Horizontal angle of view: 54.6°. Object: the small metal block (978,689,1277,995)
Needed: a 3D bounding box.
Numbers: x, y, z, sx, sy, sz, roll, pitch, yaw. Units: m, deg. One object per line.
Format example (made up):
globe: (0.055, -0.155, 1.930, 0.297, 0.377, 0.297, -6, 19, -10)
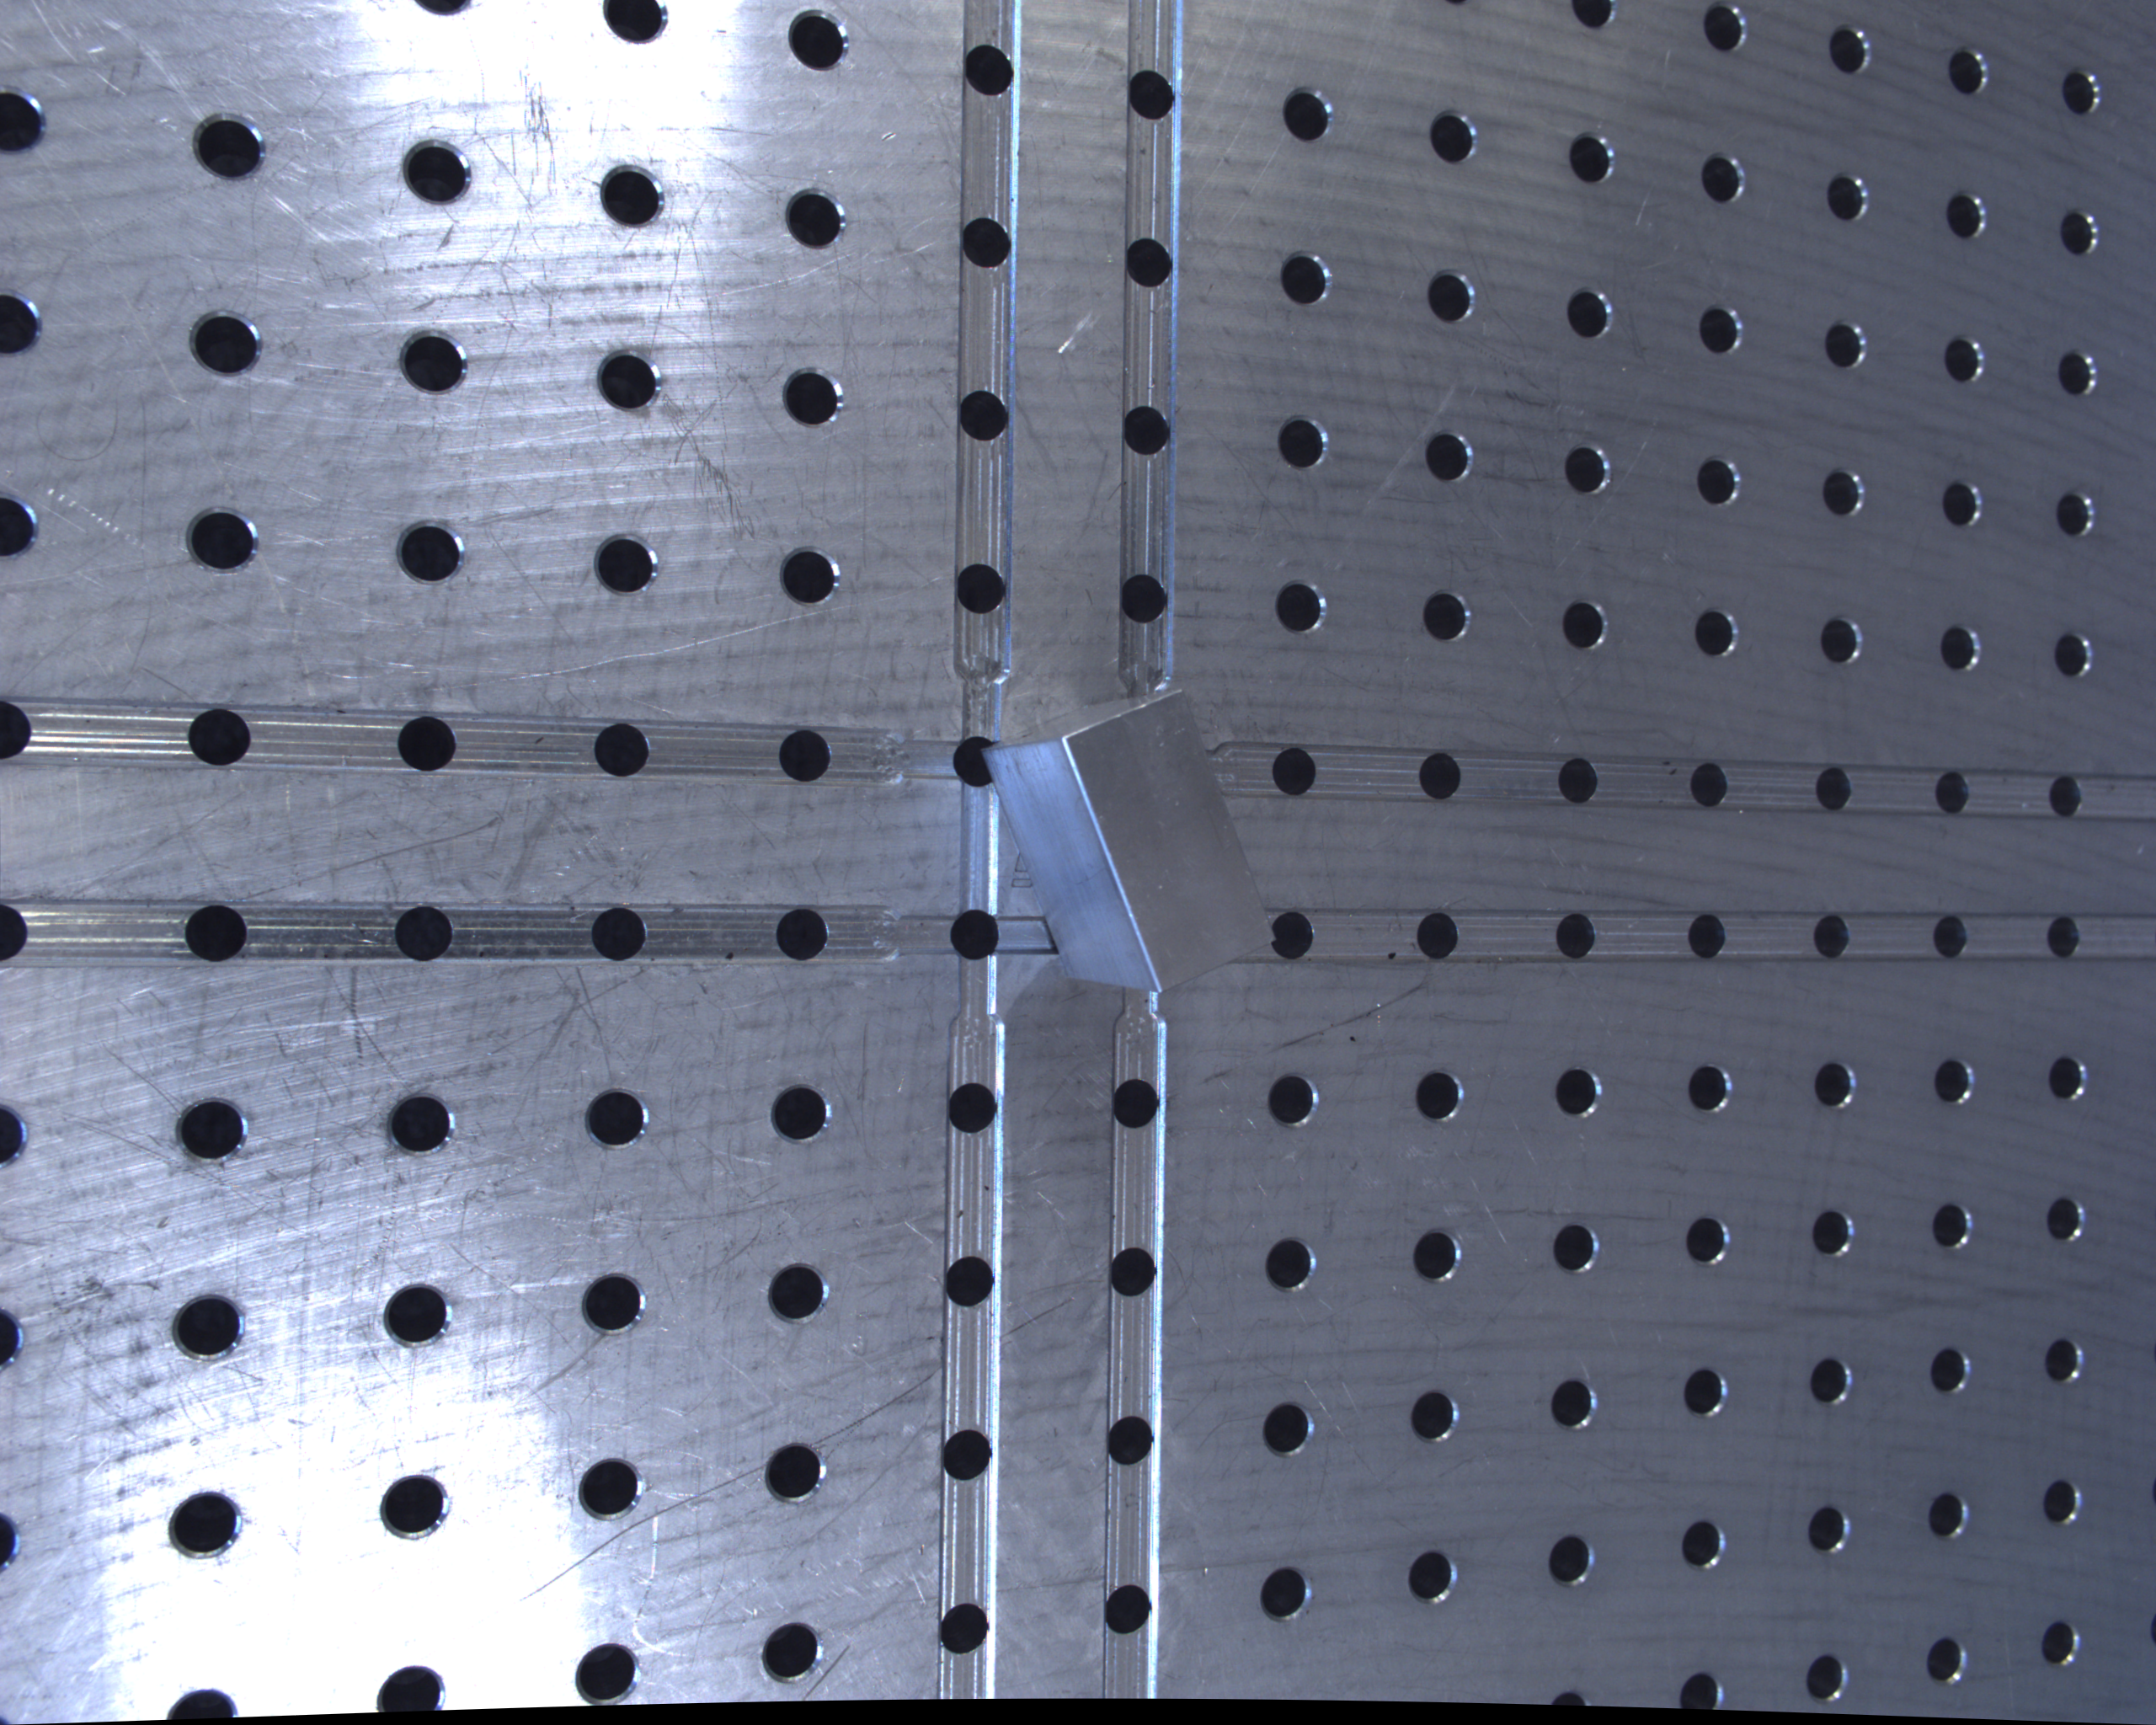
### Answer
small metal block: (0.008, -0.004, 0.402, 0.025, 0.050, 0.050, -24, 99, -18)
